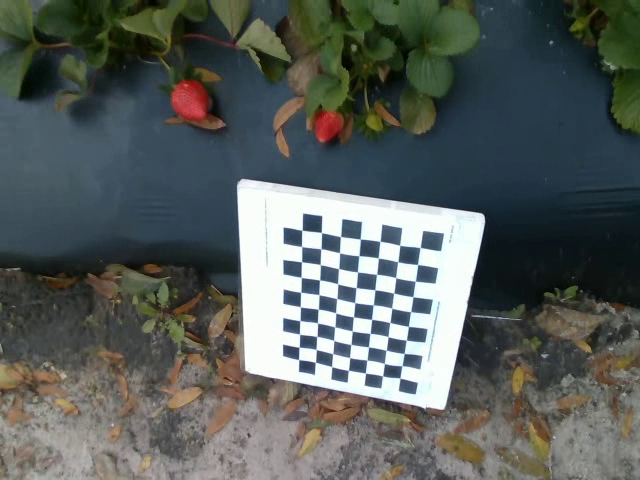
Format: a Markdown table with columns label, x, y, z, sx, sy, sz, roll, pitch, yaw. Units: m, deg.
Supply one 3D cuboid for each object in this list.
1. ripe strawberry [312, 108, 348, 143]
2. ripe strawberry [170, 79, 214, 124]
| label | x | y | z | sx | sy | sz | roll | pitch | yaw |
| --- | --- | --- | --- | --- | --- | --- | --- | --- | --- |
| ripe strawberry | 0.008 | -0.122 | 0.856 | 0.040 | 0.042 | 0.037 | 17 | -13 | 3 |
| ripe strawberry | -0.142 | -0.149 | 0.879 | 0.042 | 0.047 | 0.065 | -12 | 41 | -23 |
